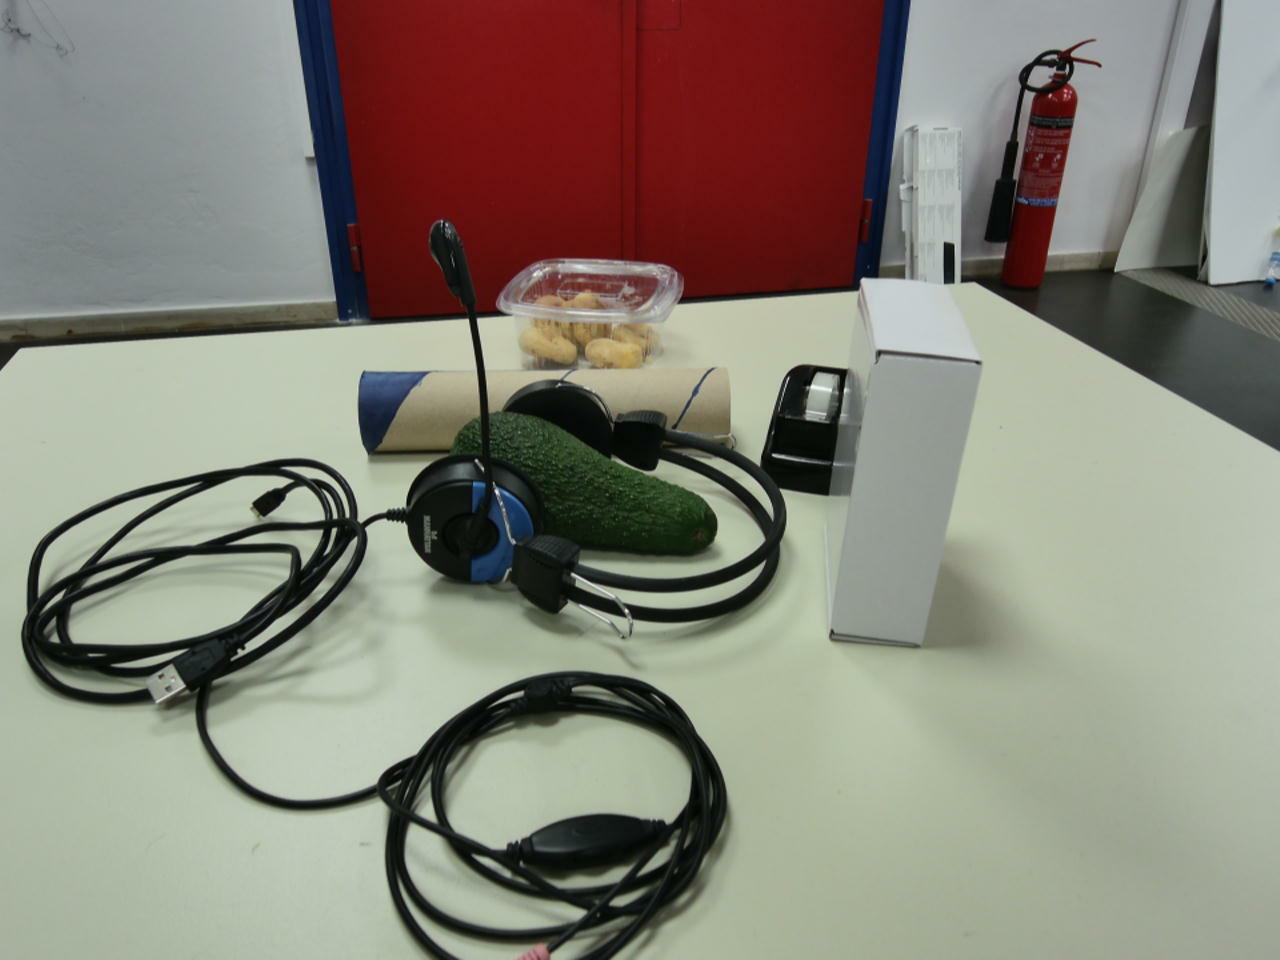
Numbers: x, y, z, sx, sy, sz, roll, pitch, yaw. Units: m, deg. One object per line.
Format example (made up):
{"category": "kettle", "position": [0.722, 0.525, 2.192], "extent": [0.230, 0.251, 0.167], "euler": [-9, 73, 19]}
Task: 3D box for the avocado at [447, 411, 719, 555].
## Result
{"category": "avocado", "position": [-0.029, -0.001, 0.511], "extent": [0.141, 0.067, 0.063], "euler": [1, 26, 2]}
